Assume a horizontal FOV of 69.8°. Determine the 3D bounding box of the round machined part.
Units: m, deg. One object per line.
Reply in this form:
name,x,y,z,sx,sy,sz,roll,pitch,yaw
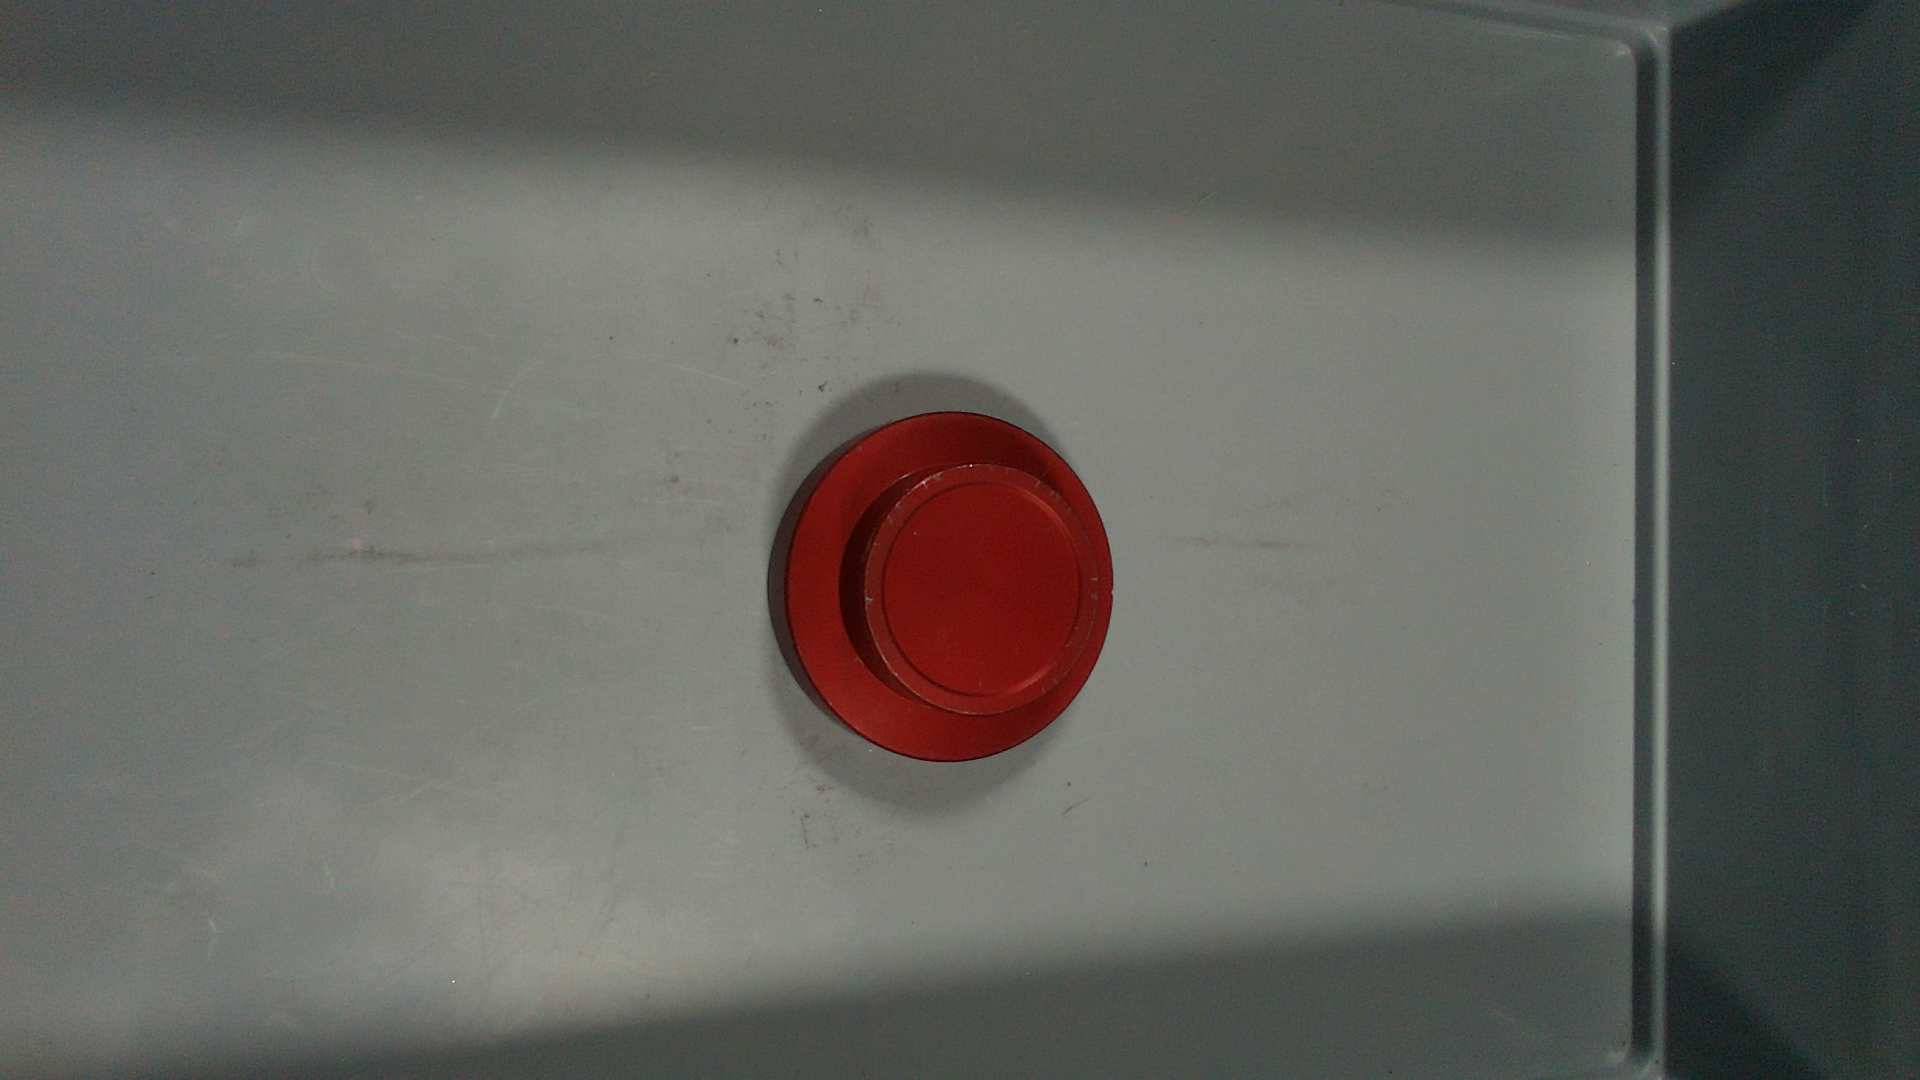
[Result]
round machined part,-0.001,0.013,0.381,0.098,0.042,0.098,0,90,-20
